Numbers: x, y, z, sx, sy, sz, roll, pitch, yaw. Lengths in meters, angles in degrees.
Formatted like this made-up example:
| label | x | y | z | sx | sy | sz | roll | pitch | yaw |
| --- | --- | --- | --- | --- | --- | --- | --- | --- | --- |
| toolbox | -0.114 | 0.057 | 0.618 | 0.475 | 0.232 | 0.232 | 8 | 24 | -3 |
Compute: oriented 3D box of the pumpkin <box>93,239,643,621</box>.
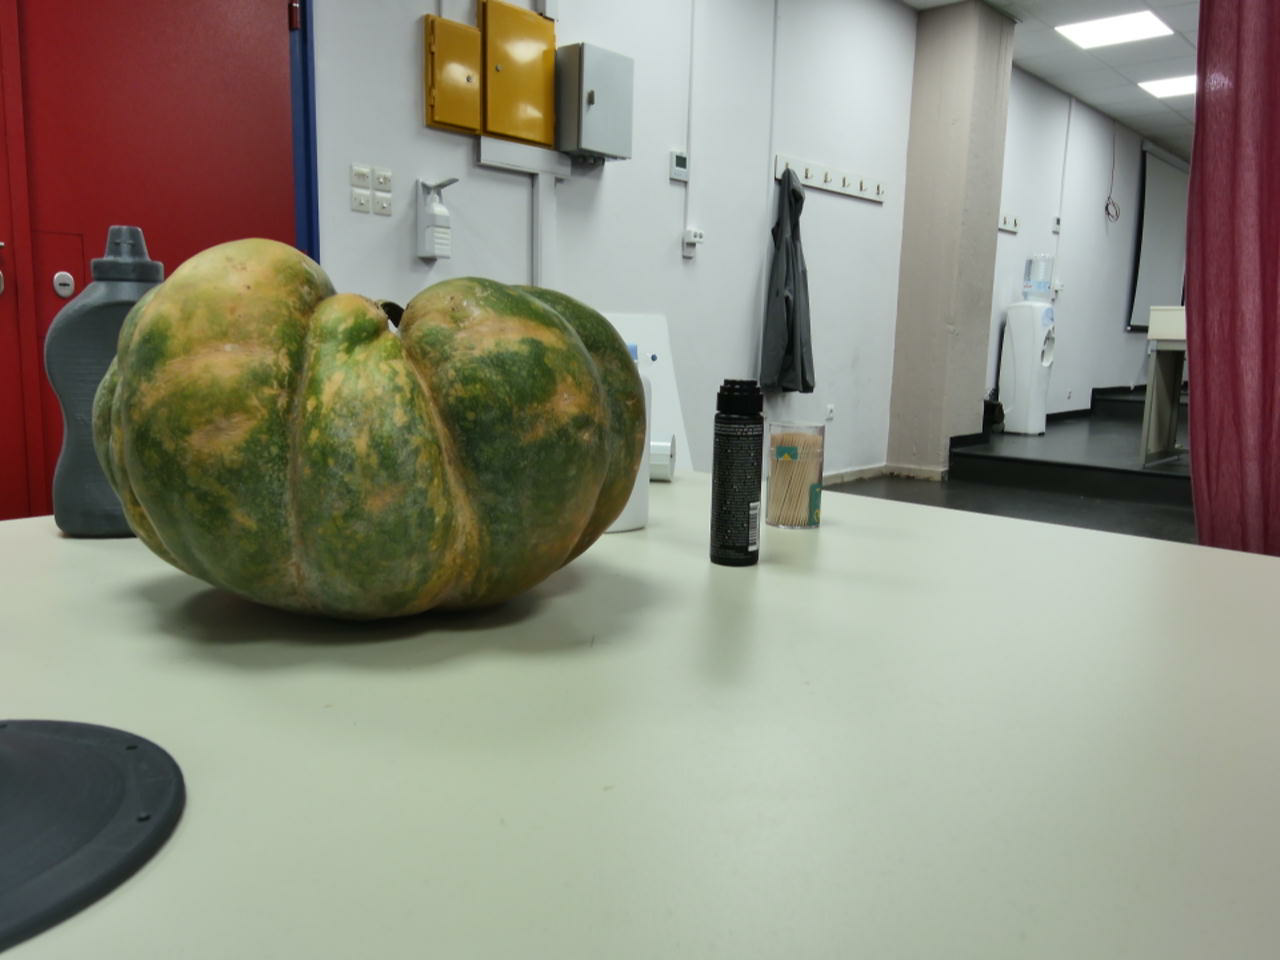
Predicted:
| label | x | y | z | sx | sy | sz | roll | pitch | yaw |
| --- | --- | --- | --- | --- | --- | --- | --- | --- | --- |
| pumpkin | -0.134 | -0.024 | 0.501 | 0.270 | 0.173 | 0.237 | -1 | 7 | -12 |
